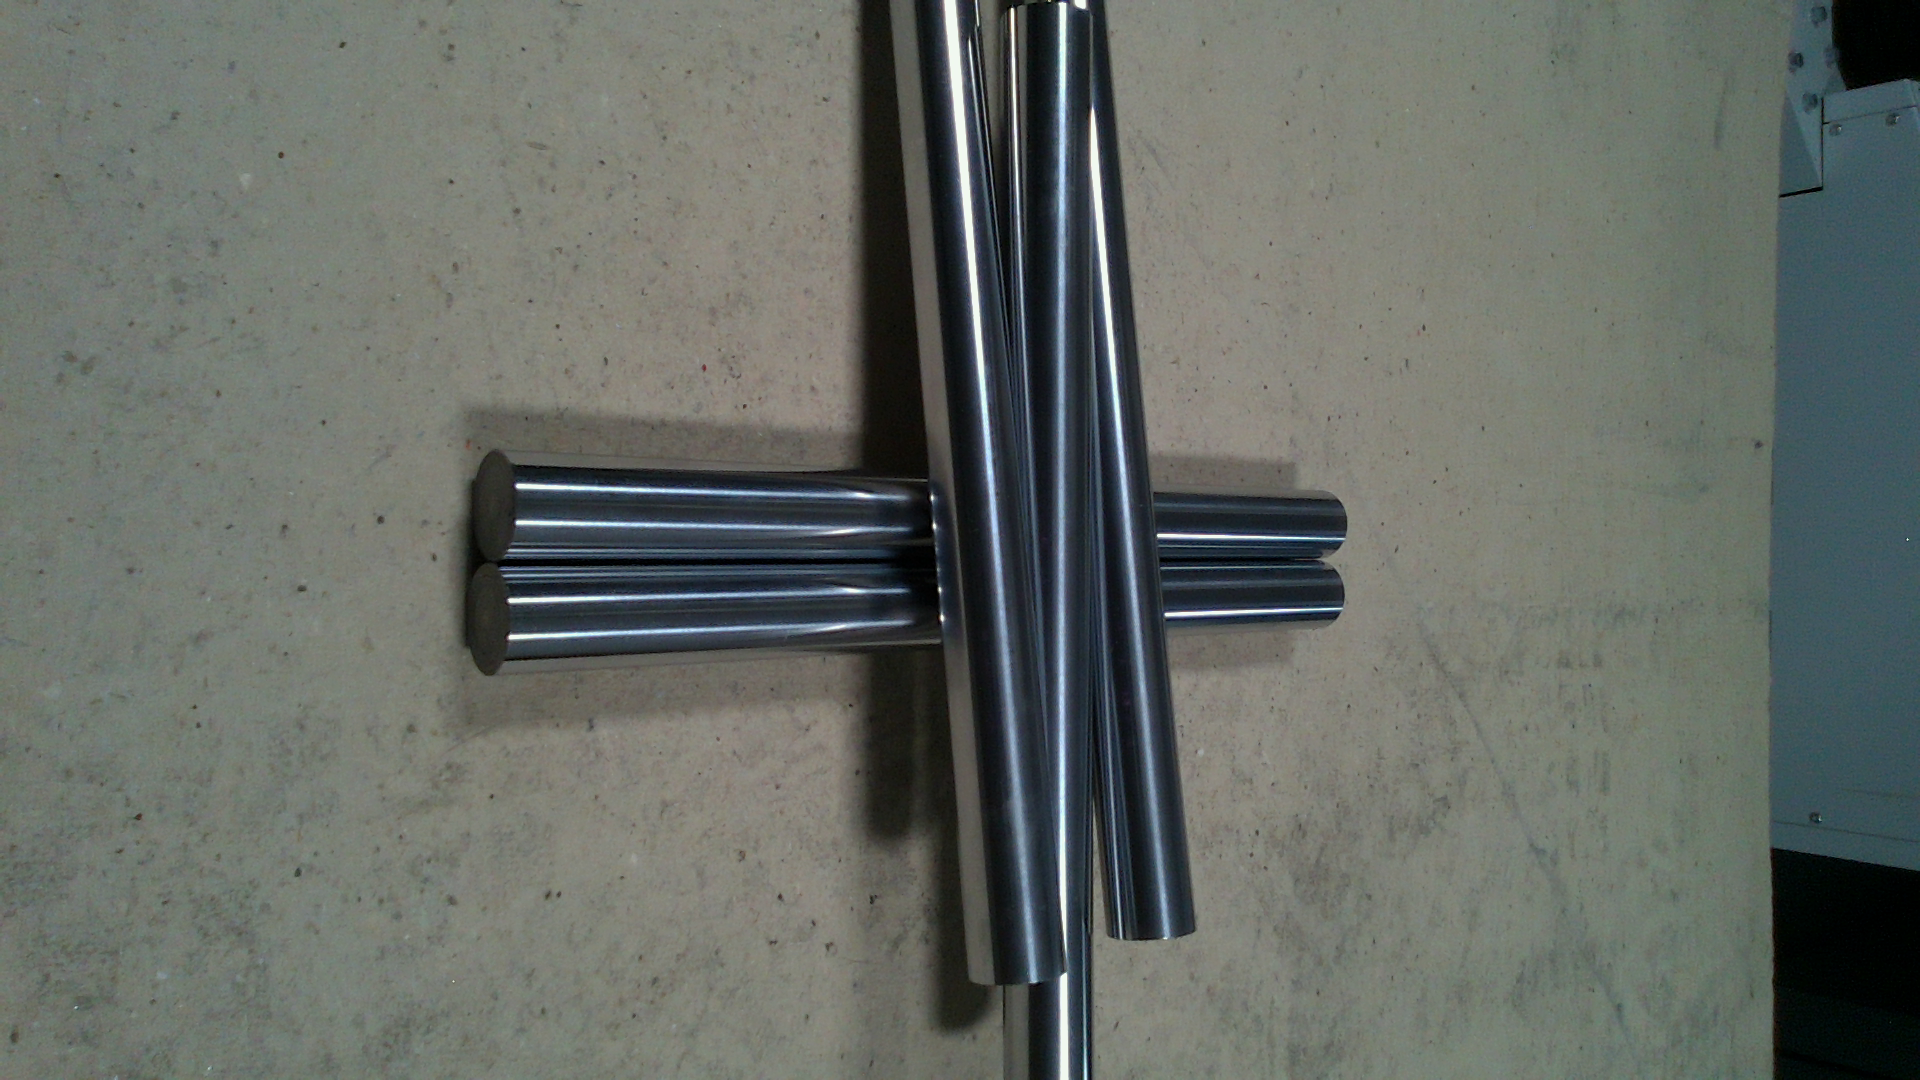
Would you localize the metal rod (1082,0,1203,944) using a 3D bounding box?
[{"bbox_3d":[0.041,-0.040,0.396,0.025,0.025,0.300,0,82,-40],"label":"metal rod"}]

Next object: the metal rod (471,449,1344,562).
[{"bbox_3d":[0.012,-0.007,0.400,0.301,0.025,0.025,0,90,-40],"label":"metal rod"}]

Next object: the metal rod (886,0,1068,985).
[{"bbox_3d":[0.002,-0.039,0.363,0.025,0.025,0.300,0,82,-40],"label":"metal rod"}]

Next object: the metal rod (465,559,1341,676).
[{"bbox_3d":[0.011,0.018,0.399,0.301,0.025,0.025,0,90,-40],"label":"metal rod"}]

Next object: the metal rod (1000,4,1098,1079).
[{"bbox_3d":[0.024,0.008,0.376,0.025,0.025,0.300,0,90,-40],"label":"metal rod"}]
